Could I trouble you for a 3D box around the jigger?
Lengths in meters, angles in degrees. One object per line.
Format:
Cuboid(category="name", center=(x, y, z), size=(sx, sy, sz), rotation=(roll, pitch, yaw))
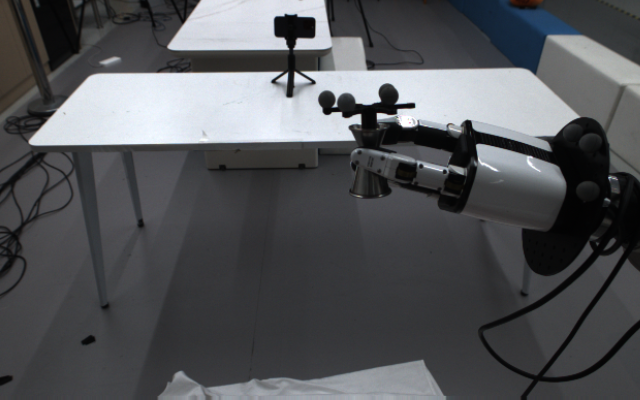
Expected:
Cuboid(category="jigger", center=(0.050, -0.039, 0.486), size=(0.043, 0.071, 0.043), rotation=(-2, 19, 1))
